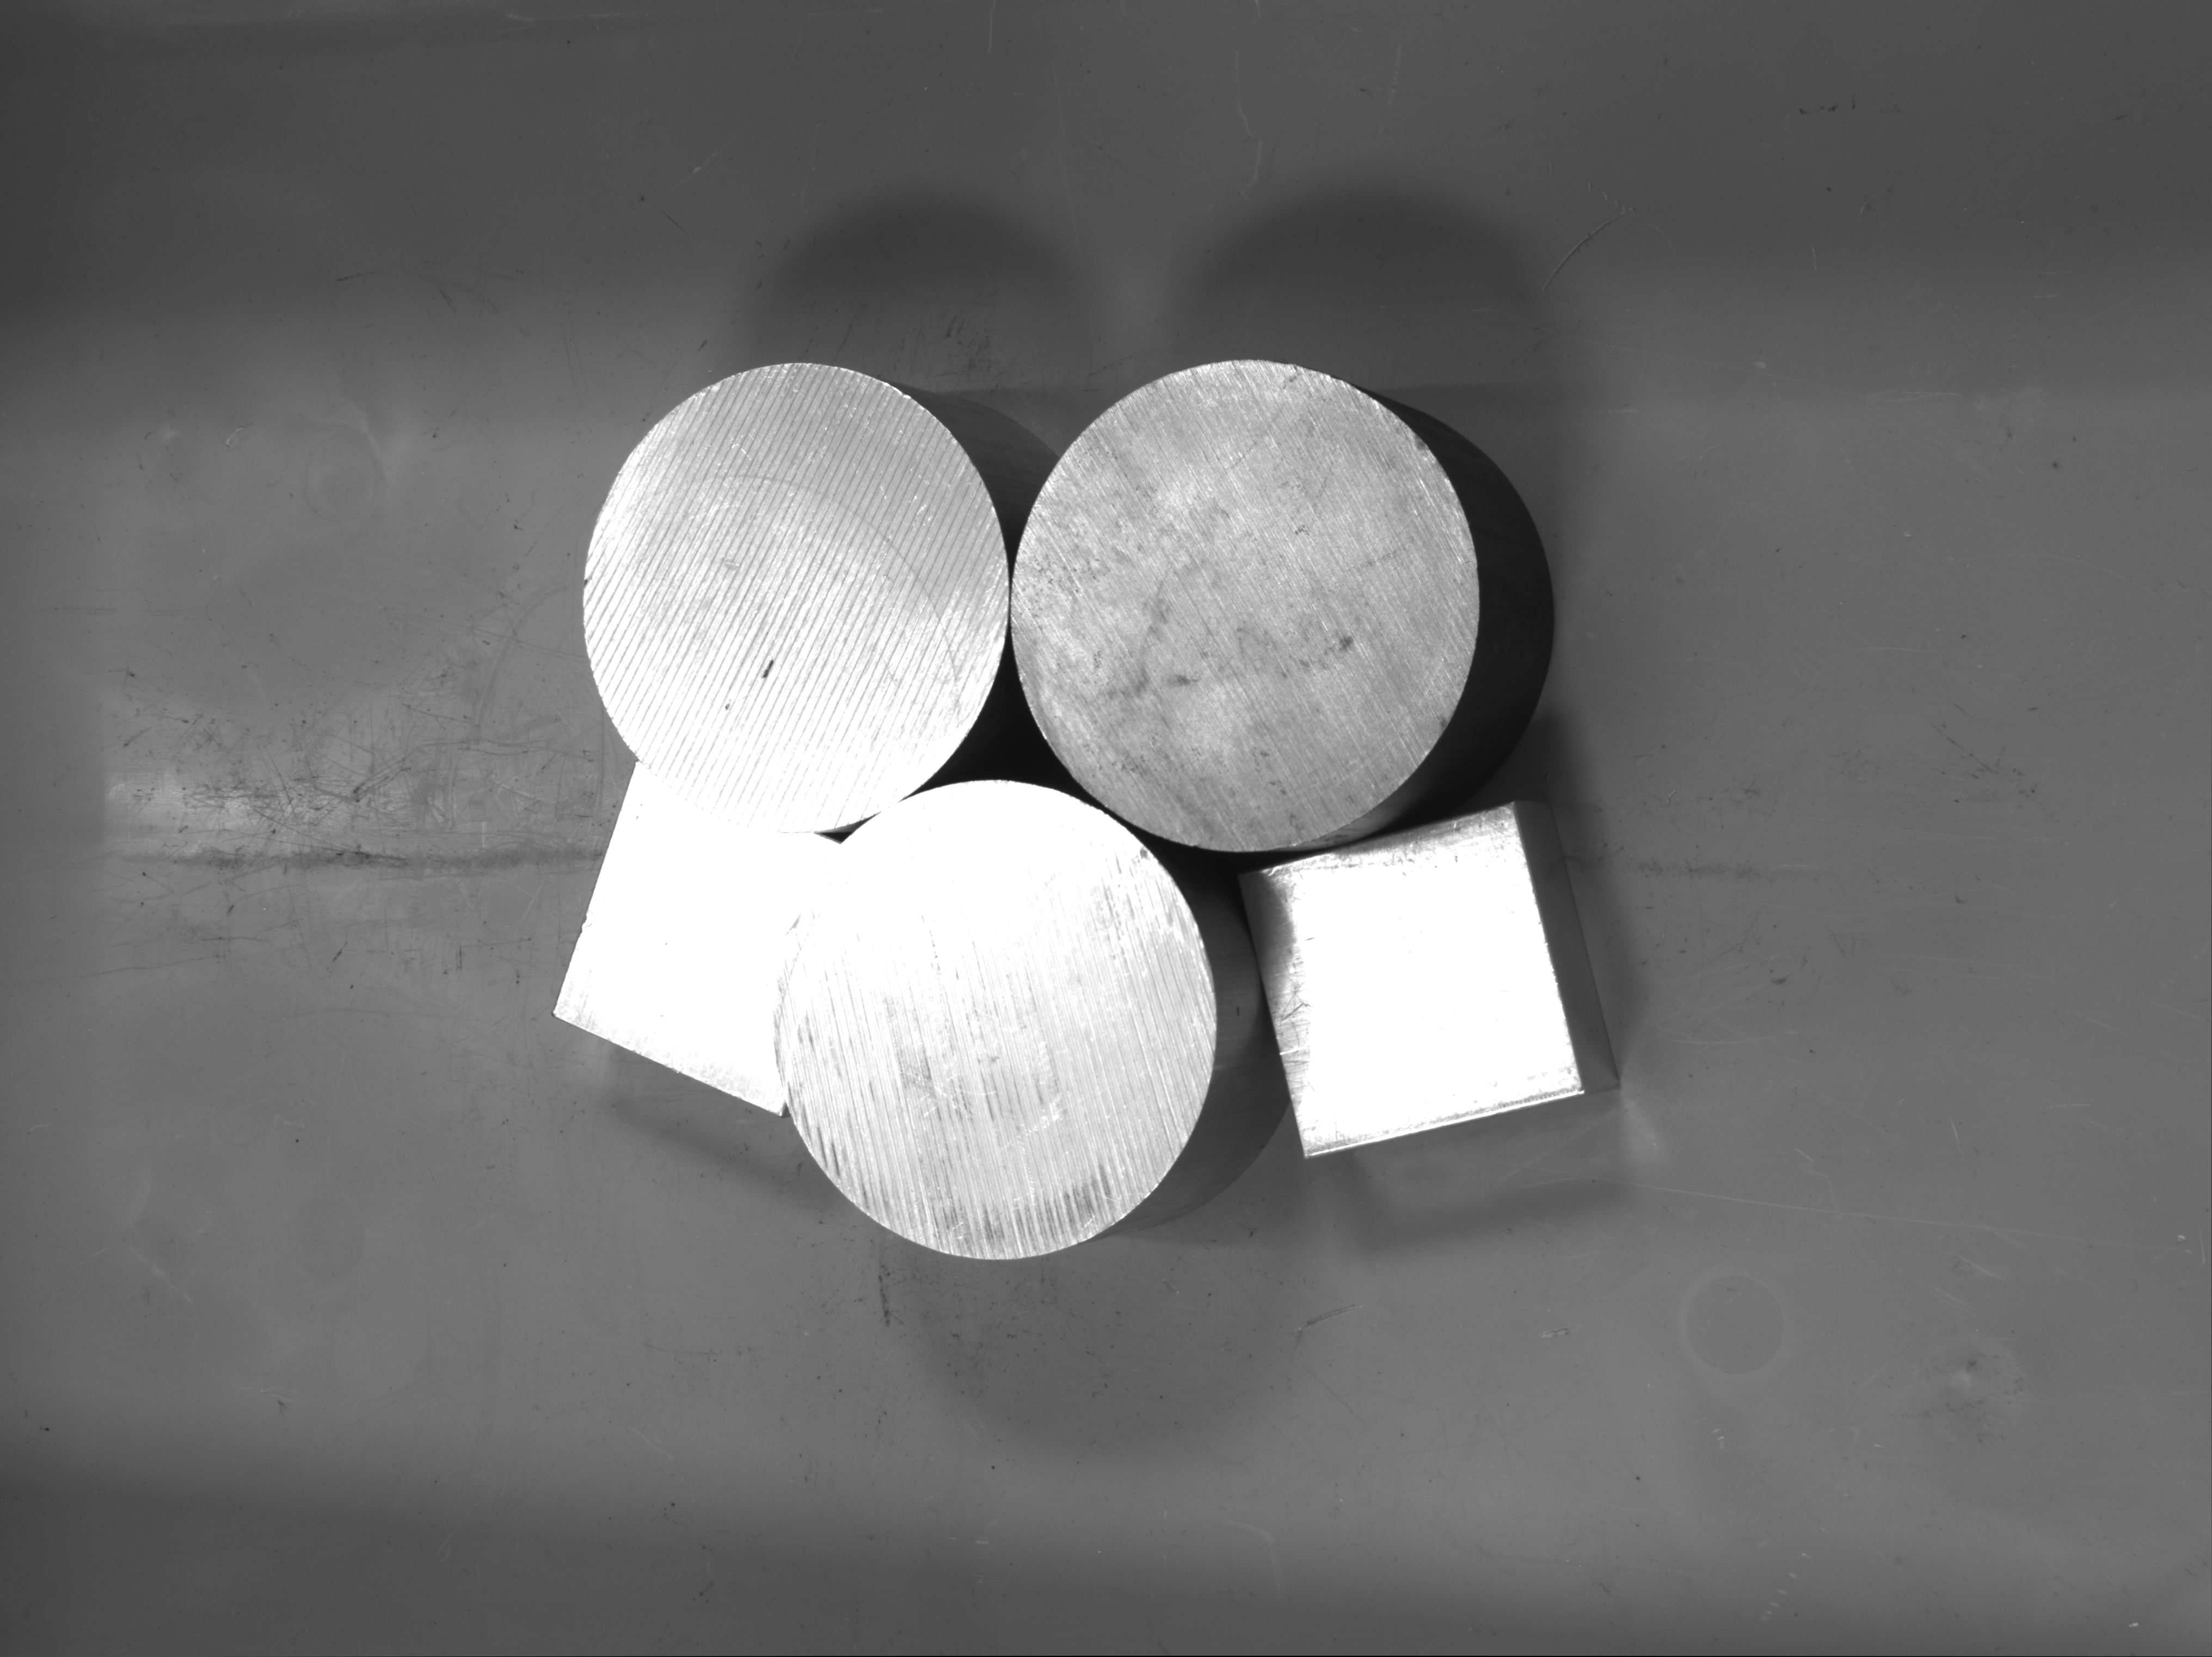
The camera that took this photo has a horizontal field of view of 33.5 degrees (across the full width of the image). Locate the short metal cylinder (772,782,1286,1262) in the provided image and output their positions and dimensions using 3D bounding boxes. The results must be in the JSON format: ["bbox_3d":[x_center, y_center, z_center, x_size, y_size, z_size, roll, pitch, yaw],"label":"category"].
[{"bbox_3d":[-0.011,0.032,0.636,0.080,0.050,0.080,0,90,20],"label":"short metal cylinder"}]

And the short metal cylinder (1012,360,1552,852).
[{"bbox_3d":[0.030,-0.036,0.621,0.080,0.050,0.080,0,90,20],"label":"short metal cylinder"}]

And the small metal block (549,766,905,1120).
[{"bbox_3d":[-0.067,0.020,0.670,0.050,0.025,0.050,22,97,19],"label":"small metal block"}]

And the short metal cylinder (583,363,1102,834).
[{"bbox_3d":[-0.045,-0.039,0.649,0.080,0.050,0.080,0,90,20],"label":"short metal cylinder"}]

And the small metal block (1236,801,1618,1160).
[{"bbox_3d":[0.055,0.026,0.626,0.050,0.025,0.050,-15,85,19],"label":"small metal block"}]
